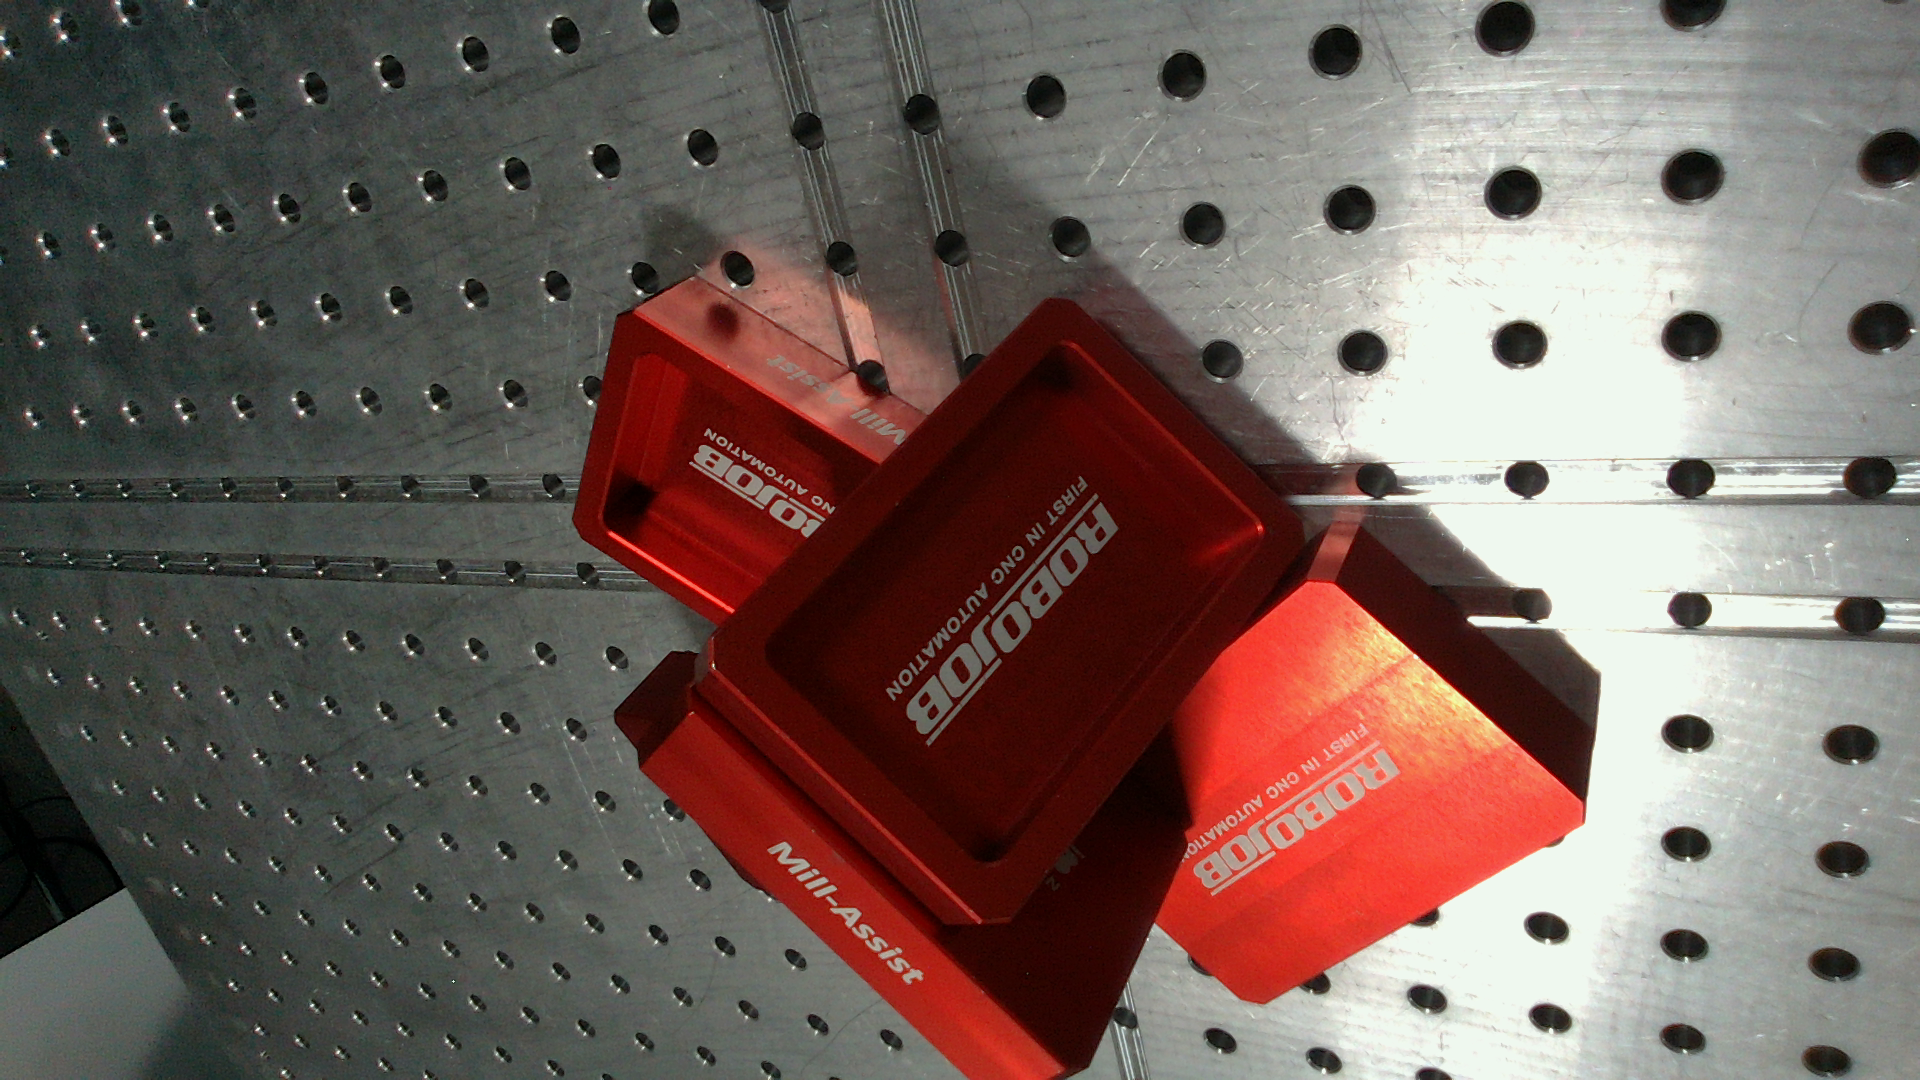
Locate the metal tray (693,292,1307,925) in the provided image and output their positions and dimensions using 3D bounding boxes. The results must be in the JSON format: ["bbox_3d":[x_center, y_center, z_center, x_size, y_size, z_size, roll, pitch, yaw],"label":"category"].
[{"bbox_3d":[0.012,0.014,0.331,0.090,0.130,0.030,44,158,-2],"label":"metal tray"}]

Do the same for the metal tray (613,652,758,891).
[{"bbox_3d":[-0.043,0.082,0.435,0.129,0.030,0.090,0,131,45],"label":"metal tray"}]

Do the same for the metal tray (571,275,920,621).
[{"bbox_3d":[-0.049,-0.008,0.414,0.130,0.030,0.090,31,129,8],"label":"metal tray"}]

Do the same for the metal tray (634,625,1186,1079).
[{"bbox_3d":[-0.008,0.068,0.360,0.130,0.090,0.030,44,129,-2],"label":"metal tray"}]

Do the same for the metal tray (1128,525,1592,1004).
[{"bbox_3d":[0.093,0.067,0.383,0.090,0.030,0.130,41,129,0],"label":"metal tray"}]
